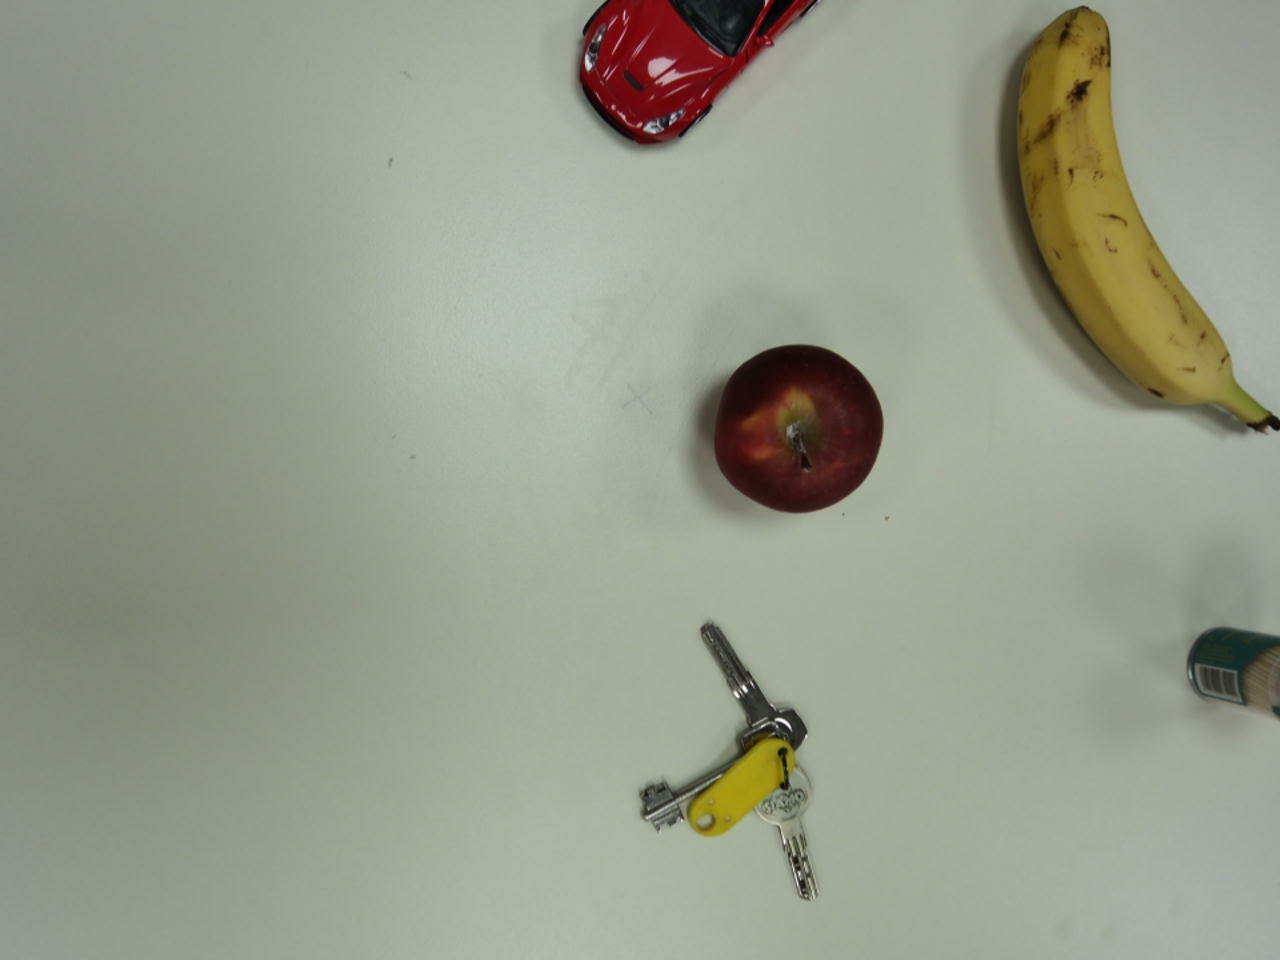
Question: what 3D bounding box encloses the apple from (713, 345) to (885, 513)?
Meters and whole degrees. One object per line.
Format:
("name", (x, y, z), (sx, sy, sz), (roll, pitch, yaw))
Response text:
("apple", (0.065, -0.020, 0.415), (0.070, 0.072, 0.070), (0, 90, -11))
